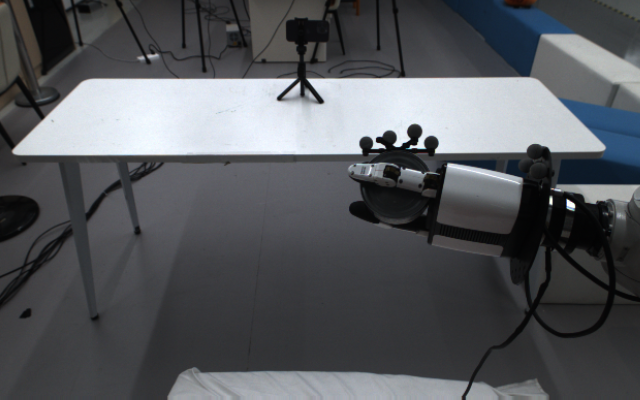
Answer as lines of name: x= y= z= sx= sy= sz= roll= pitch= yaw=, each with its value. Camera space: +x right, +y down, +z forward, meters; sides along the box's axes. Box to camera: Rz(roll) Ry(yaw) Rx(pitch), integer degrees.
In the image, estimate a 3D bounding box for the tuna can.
tuna can: x=0.094 y=-0.015 z=0.587 sx=0.085 sy=0.034 sz=0.085 roll=-3 pitch=73 yaw=11
